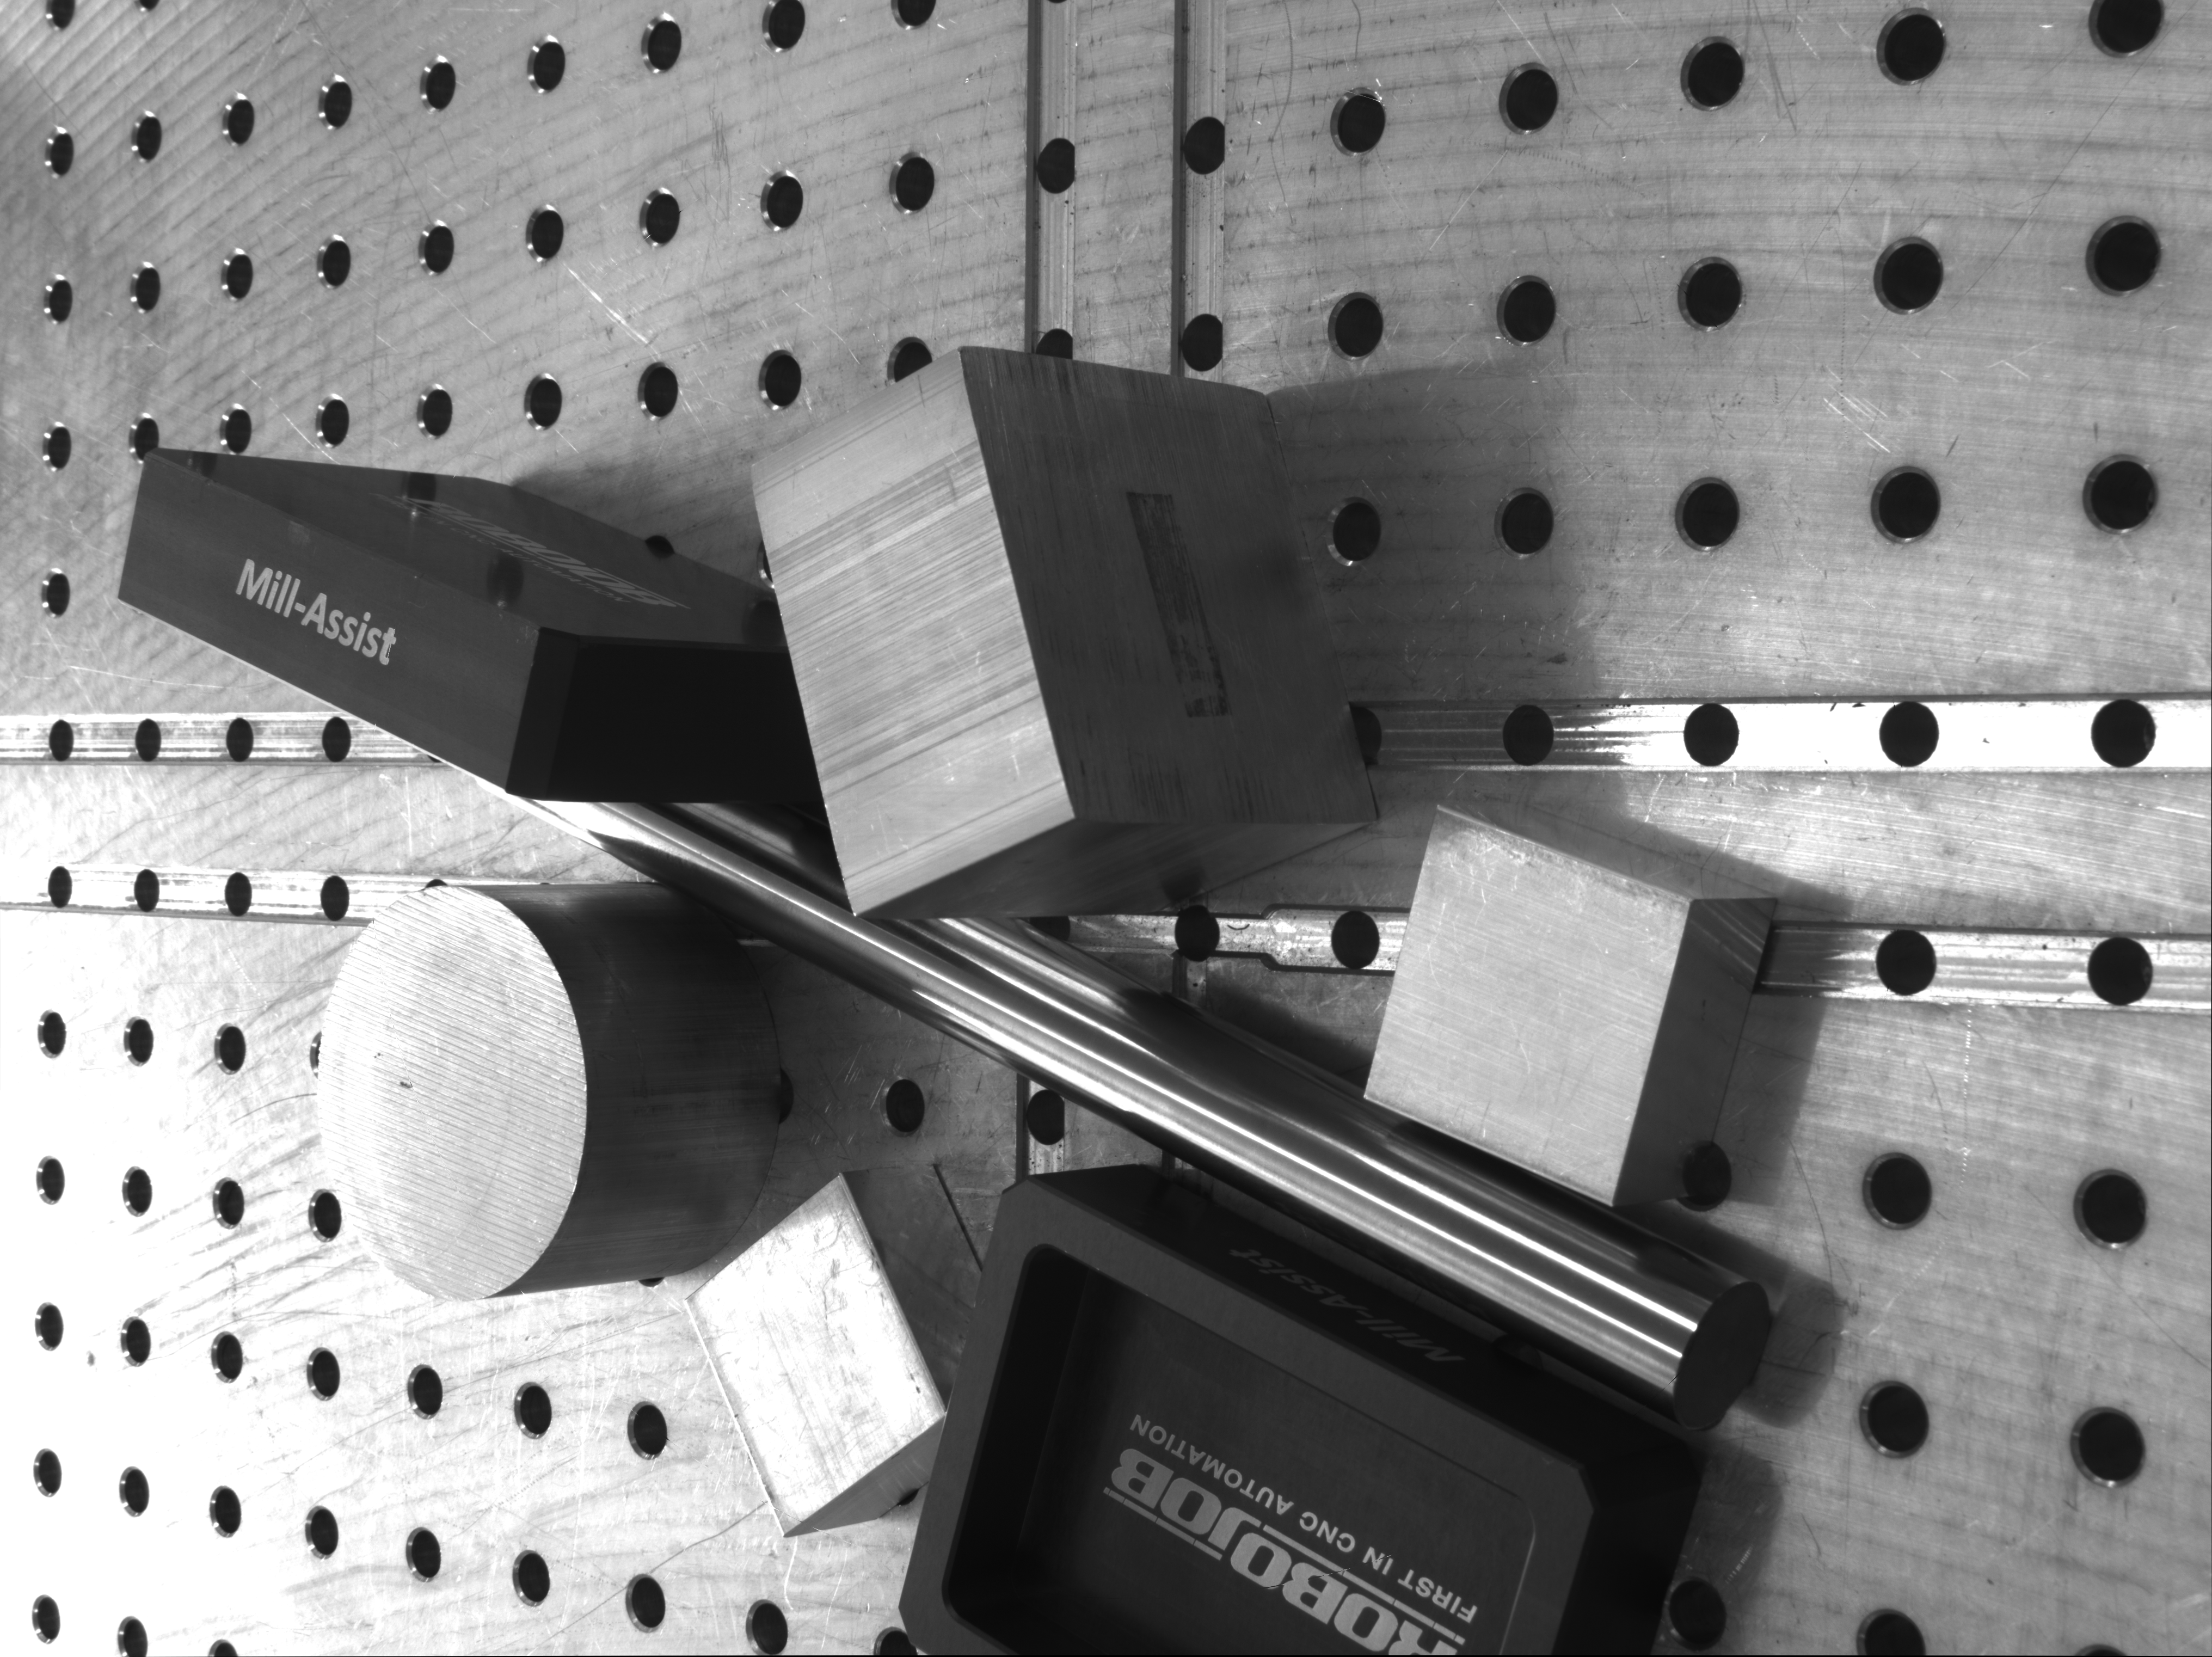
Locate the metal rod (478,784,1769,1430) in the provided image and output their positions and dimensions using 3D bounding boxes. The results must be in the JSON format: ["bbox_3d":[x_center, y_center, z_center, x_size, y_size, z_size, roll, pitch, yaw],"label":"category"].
[{"bbox_3d":[-0.012,0.032,0.658,0.299,0.025,0.025,25,106,37],"label":"metal rod"}]

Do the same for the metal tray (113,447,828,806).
[{"bbox_3d":[-0.115,-0.039,0.701,0.130,0.090,0.030,24,105,38],"label":"metal tray"}]

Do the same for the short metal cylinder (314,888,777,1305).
[{"bbox_3d":[-0.111,0.051,0.724,0.080,0.050,0.080,0,90,40],"label":"short metal cylinder"}]

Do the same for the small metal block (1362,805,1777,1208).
[{"bbox_3d":[0.073,0.027,0.586,0.050,0.025,0.050,22,104,38],"label":"small metal block"}]

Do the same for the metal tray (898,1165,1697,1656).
[{"bbox_3d":[0.028,0.122,0.620,0.130,0.030,0.090,23,105,38],"label":"metal tray"}]

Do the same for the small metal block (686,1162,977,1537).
[{"bbox_3d":[-0.046,0.097,0.687,0.050,0.025,0.050,-40,66,33],"label":"small metal block"}]

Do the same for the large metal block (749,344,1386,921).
[{"bbox_3d":[-0.006,-0.031,0.619,0.050,0.080,0.080,-24,75,38],"label":"large metal block"}]
